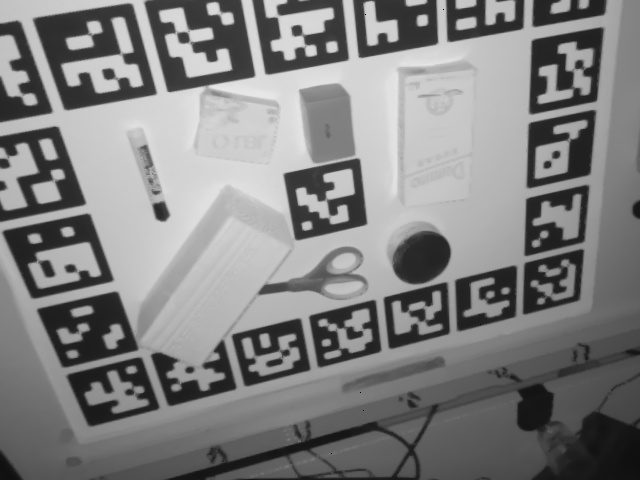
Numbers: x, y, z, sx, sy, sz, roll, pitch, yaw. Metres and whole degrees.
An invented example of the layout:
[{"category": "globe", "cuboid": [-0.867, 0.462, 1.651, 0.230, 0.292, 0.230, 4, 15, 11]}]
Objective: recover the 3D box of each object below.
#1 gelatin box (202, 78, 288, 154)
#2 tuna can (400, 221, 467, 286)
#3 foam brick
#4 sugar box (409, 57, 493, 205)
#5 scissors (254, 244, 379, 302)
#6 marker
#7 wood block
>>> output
[{"category": "gelatin box", "cuboid": [-0.088, -0.143, 0.806, 0.090, 0.030, 0.072, 6, 114, -17]}, {"category": "tuna can", "cuboid": [0.153, 0.017, 0.941, 0.086, 0.034, 0.085, -6, 117, -11]}, {"category": "foam brick", "cuboid": [0.017, -0.148, 0.812, 0.053, 0.051, 0.077, -10, 118, -8]}, {"category": "sugar box", "cuboid": [0.160, -0.134, 0.864, 0.093, 0.045, 0.175, -7, 118, -9]}, {"category": "scissors", "cuboid": [-0.017, 0.052, 0.931, 0.204, 0.016, 0.087, -5, 117, -13]}, {"category": "marker", "cuboid": [-0.191, -0.089, 0.812, 0.020, 0.019, 0.120, -10, 116, -8]}, {"category": "wood block", "cuboid": [-0.133, 0.035, 0.855, 0.090, 0.091, 0.204, 31, 107, -26]}]
